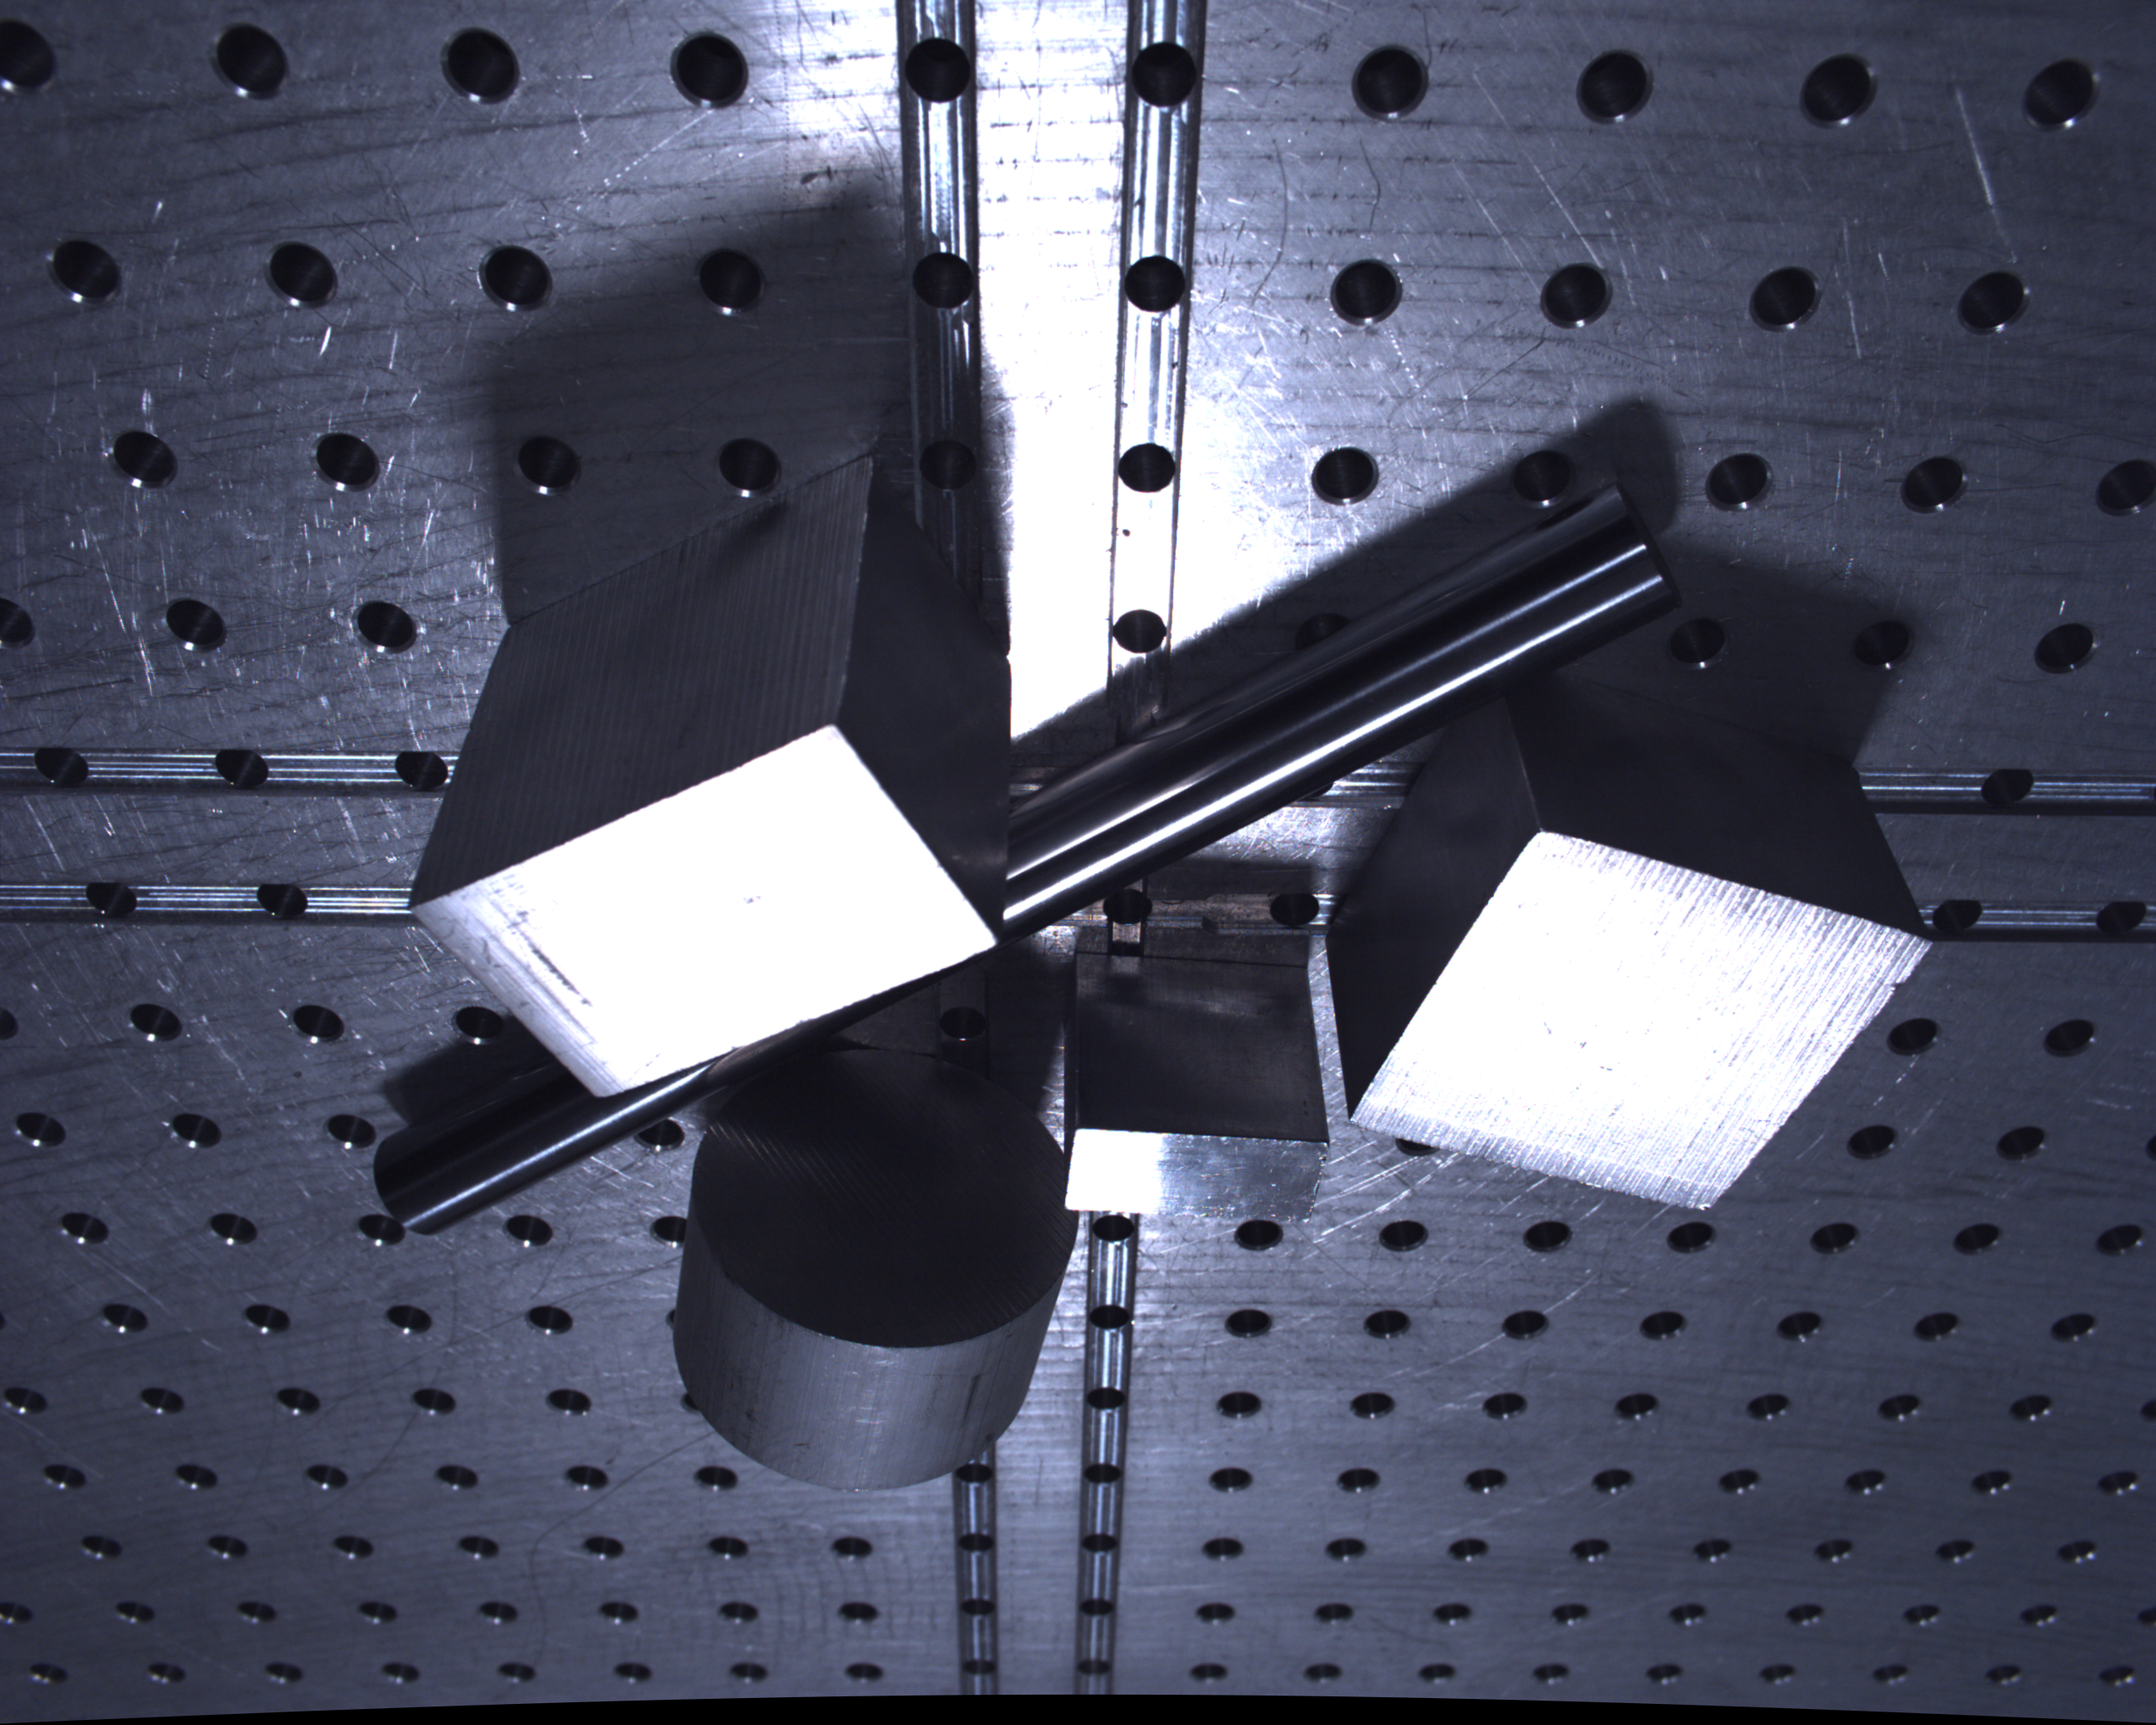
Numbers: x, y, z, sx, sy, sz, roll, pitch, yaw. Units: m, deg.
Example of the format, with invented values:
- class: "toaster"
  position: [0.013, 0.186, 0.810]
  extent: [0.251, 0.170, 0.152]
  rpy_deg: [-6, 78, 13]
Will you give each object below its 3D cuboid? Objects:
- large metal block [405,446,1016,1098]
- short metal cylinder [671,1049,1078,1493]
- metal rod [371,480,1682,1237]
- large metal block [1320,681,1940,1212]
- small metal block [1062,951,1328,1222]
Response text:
- class: "large metal block"
  position: [-0.059, -0.016, 0.362]
  extent: [0.080, 0.080, 0.050]
  rpy_deg: [-22, 127, 17]
- class: "short metal cylinder"
  position: [-0.045, 0.086, 0.448]
  extent: [0.081, 0.080, 0.050]
  rpy_deg: [9, 130, -8]
- class: "metal rod"
  position: [-0.025, 0.008, 0.418]
  extent: [0.300, 0.025, 0.025]
  rpy_deg: [-27, 125, 21]
- class: "large metal block"
  position: [0.103, 0.016, 0.407]
  extent: [0.081, 0.050, 0.079]
  rpy_deg: [15, 129, -13]
- class: "small metal block"
  position: [0.023, 0.046, 0.435]
  extent: [0.050, 0.050, 0.025]
  rpy_deg: [4, 130, -4]
